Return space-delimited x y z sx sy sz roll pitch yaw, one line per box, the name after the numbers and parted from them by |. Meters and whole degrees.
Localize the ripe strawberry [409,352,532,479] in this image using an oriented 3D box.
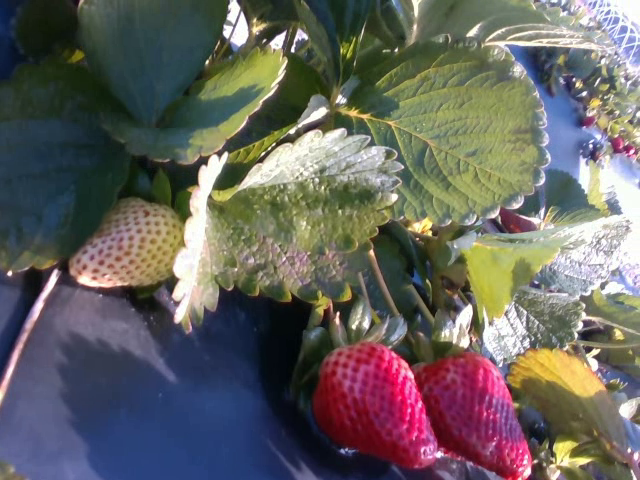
0.060 0.069 0.229 0.052 0.046 0.057 -13 46 -32 | ripe strawberry

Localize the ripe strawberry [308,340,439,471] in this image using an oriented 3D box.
0.020 0.055 0.192 0.043 0.036 0.051 -23 53 -30 | ripe strawberry
